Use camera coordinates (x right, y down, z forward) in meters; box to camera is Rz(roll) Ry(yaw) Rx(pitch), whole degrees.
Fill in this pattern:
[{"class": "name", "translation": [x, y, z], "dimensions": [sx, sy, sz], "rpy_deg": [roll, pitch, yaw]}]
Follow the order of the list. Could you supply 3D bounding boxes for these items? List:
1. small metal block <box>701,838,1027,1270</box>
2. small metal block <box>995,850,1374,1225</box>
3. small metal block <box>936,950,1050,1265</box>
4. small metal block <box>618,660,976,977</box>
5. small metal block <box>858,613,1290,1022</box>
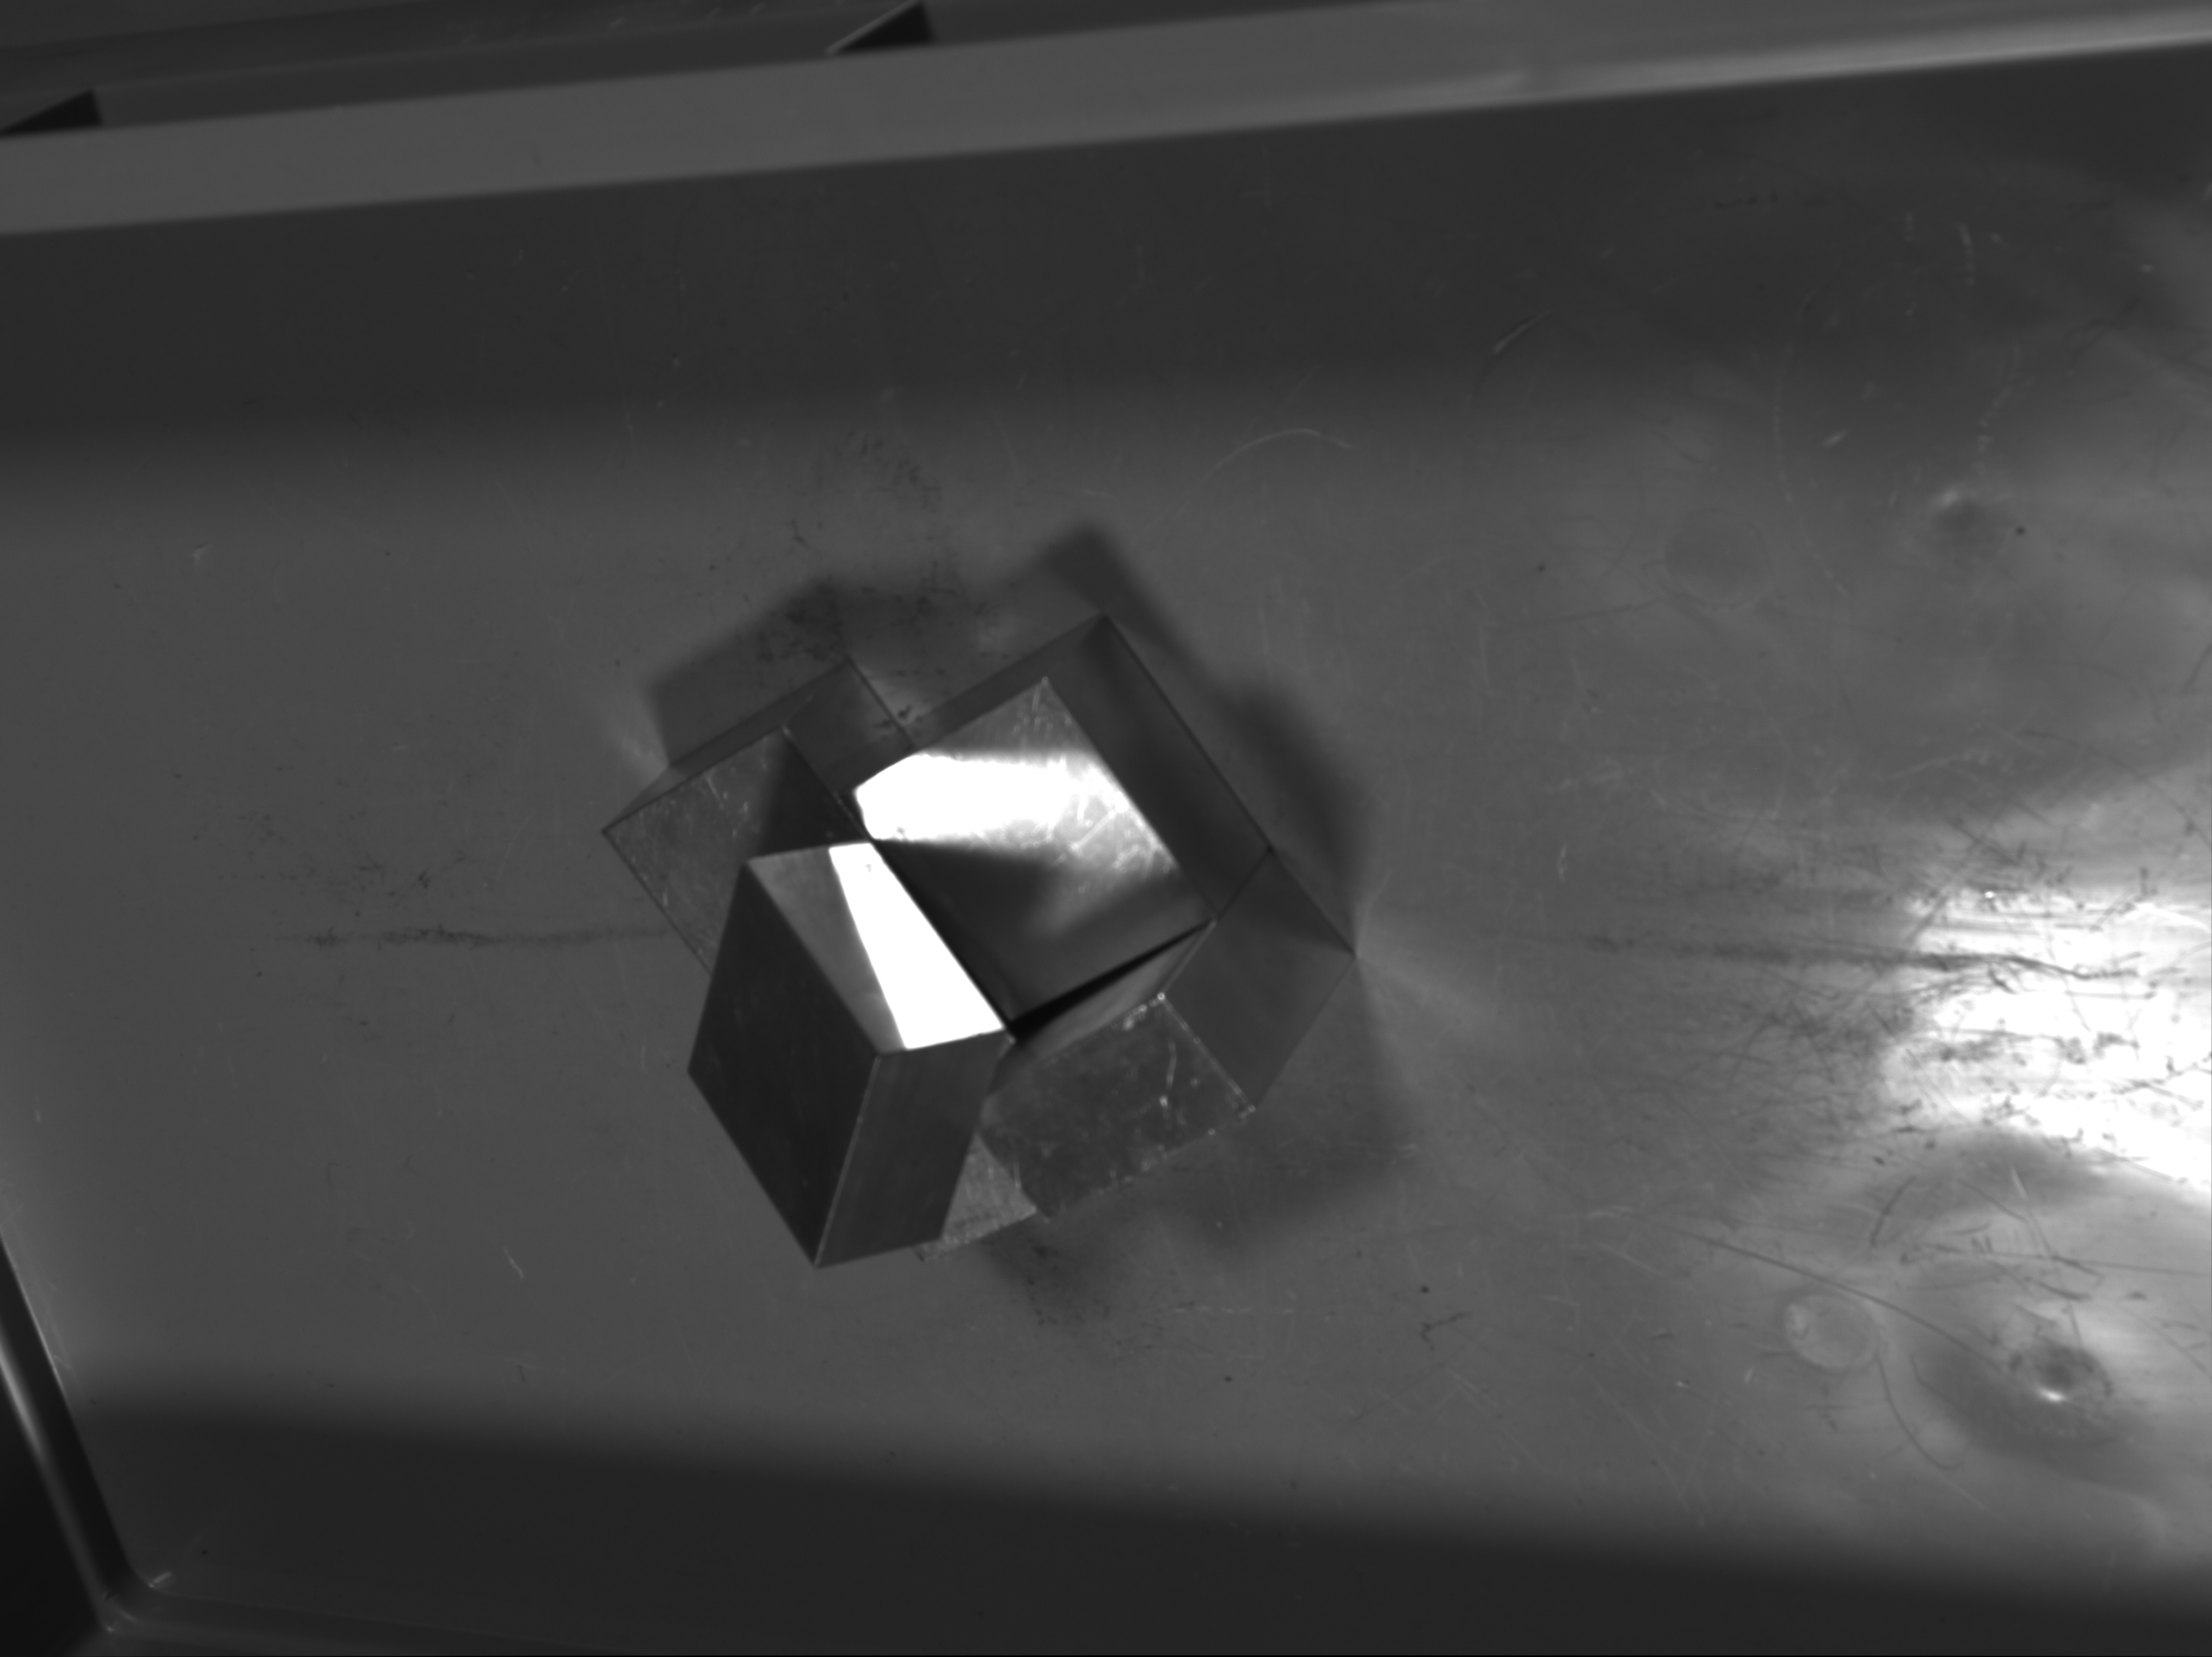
[{"class": "small metal block", "translation": [-0.042, 0.038, 0.626], "dimensions": [0.050, 0.025, 0.050], "rpy_deg": [51, 137, 36]}, {"class": "small metal block", "translation": [0.012, 0.036, 0.629], "dimensions": [0.050, 0.050, 0.025], "rpy_deg": [-32, 101, 36]}, {"class": "small metal block", "translation": [-0.022, 0.046, 0.668], "dimensions": [0.050, 0.025, 0.050], "rpy_deg": [-27, 104, 36]}, {"class": "small metal block", "translation": [-0.051, 0.005, 0.658], "dimensions": [0.050, 0.025, 0.050], "rpy_deg": [-27, 104, 36]}, {"class": "small metal block", "translation": [-0.006, -0.001, 0.632], "dimensions": [0.050, 0.025, 0.050], "rpy_deg": [-27, 104, 36]}]
